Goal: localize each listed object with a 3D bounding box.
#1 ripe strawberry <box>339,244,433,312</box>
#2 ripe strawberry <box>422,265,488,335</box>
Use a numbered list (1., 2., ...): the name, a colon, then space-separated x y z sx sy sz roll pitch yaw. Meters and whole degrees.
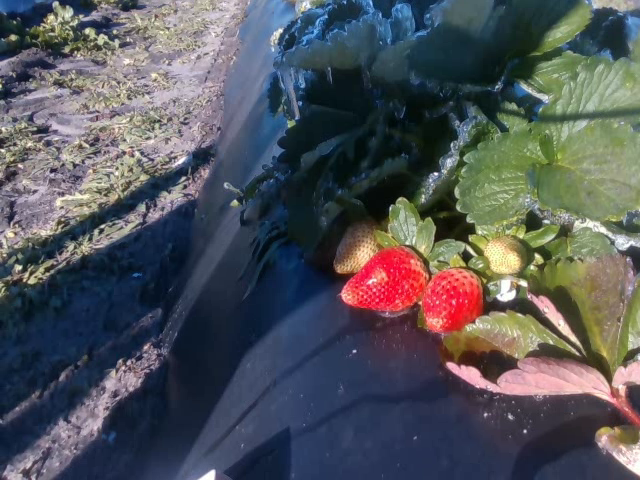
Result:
1. ripe strawberry: 0.031 0.026 0.320 0.051 0.040 0.036 -17 11 -30
2. ripe strawberry: 0.065 0.032 0.300 0.036 0.030 0.041 -23 29 41
